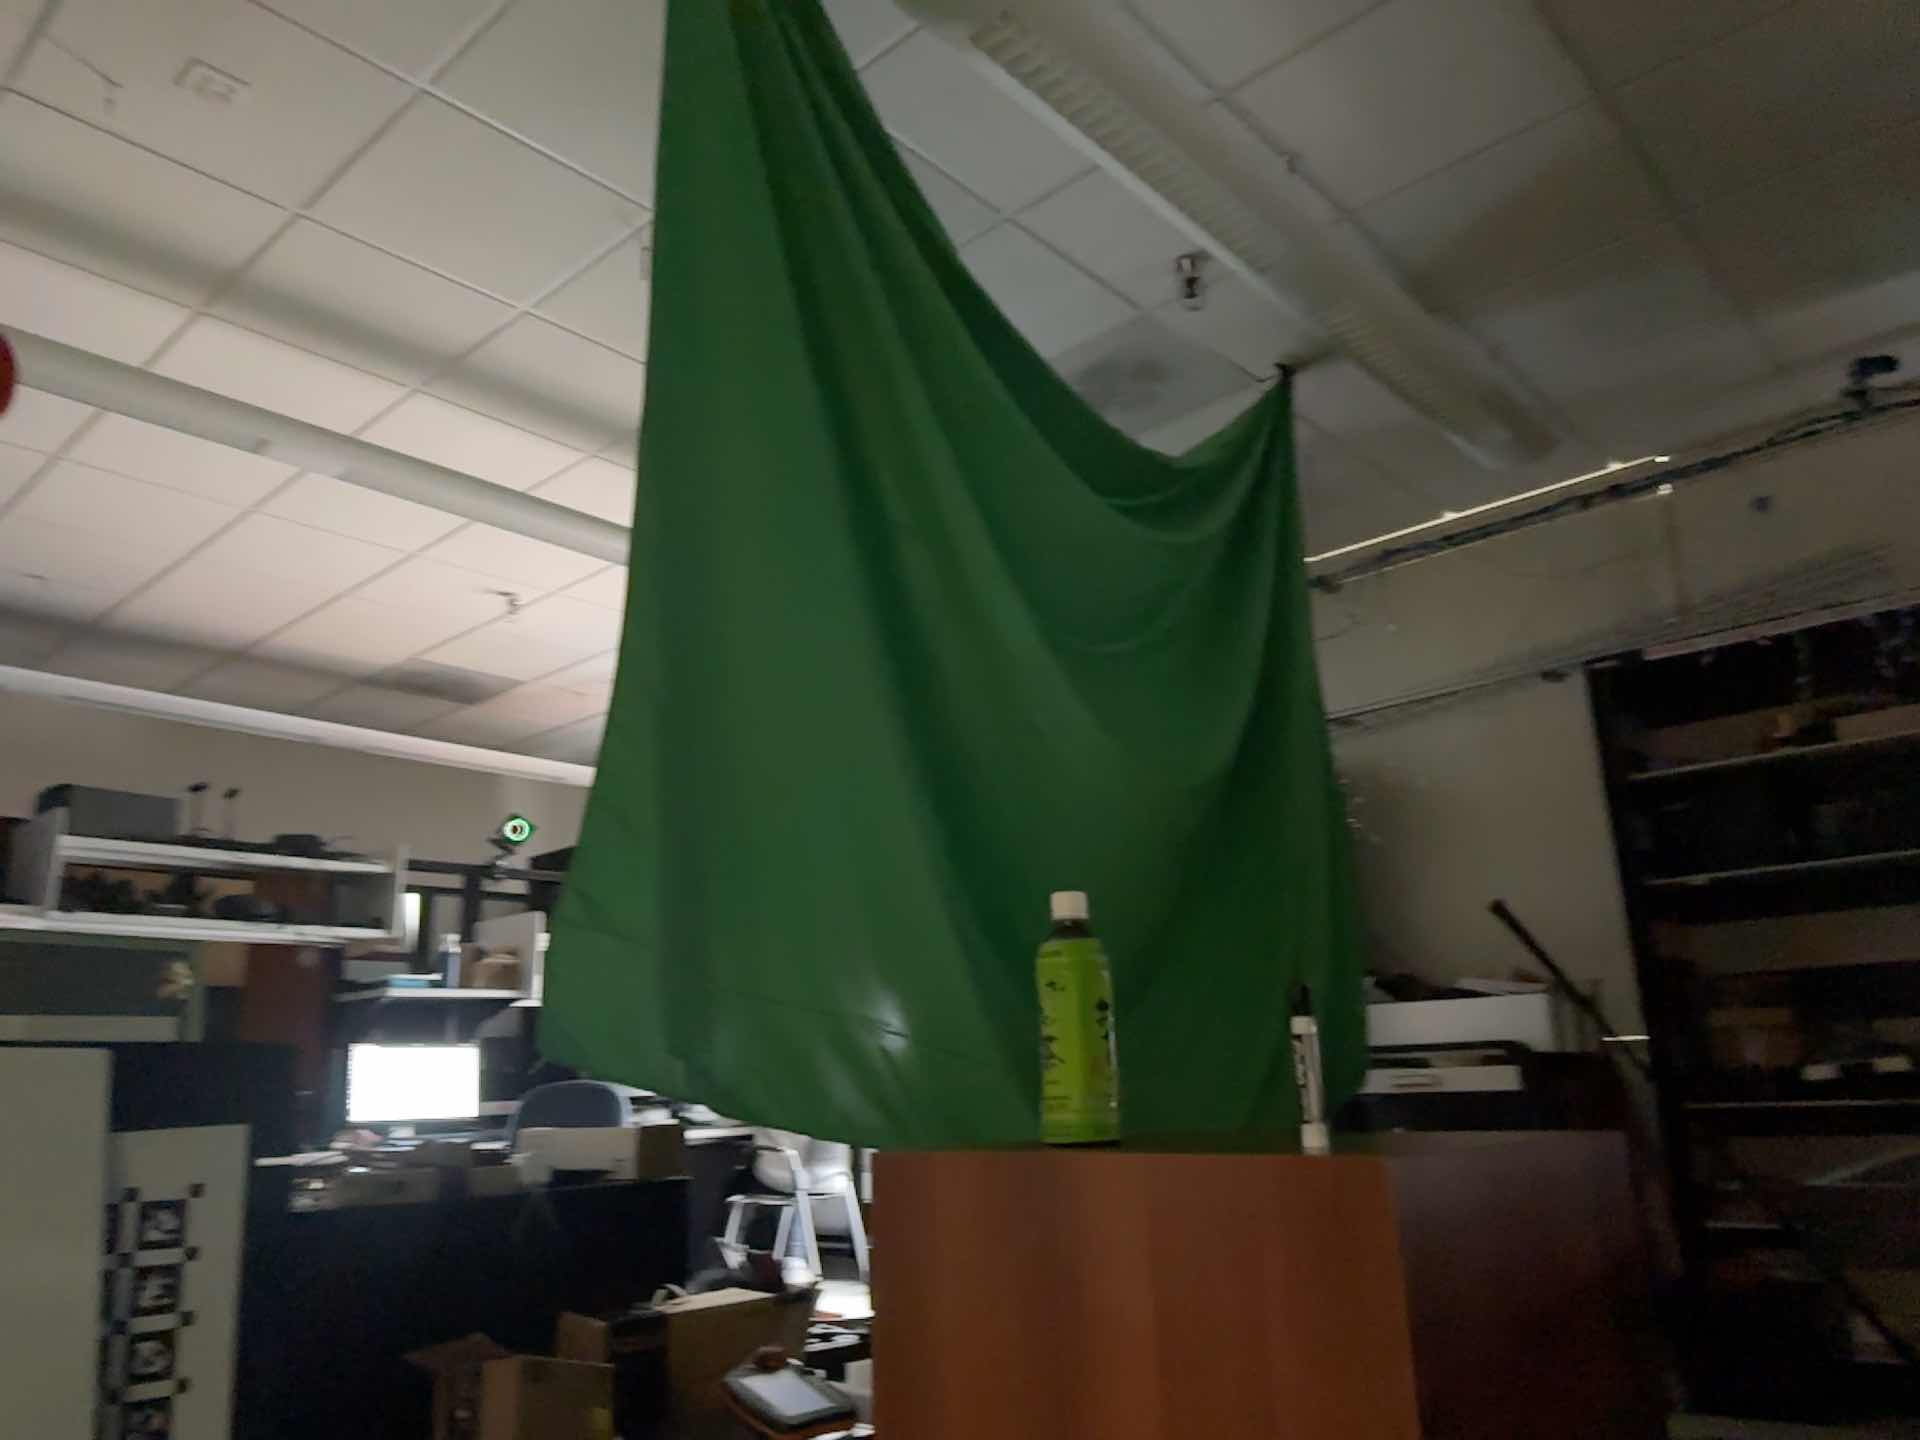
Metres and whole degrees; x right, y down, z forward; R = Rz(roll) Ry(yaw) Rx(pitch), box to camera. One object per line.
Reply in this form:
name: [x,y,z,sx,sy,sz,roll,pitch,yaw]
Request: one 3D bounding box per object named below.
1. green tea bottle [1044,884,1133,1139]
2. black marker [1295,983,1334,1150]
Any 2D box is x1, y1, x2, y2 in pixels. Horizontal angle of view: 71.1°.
green tea bottle: [0.106,0.246,1.146,0.073,0.212,0.073,-3,-16,-1]
black marker: [0.266,0.259,1.010,0.020,0.121,0.020,-1,-12,0]
